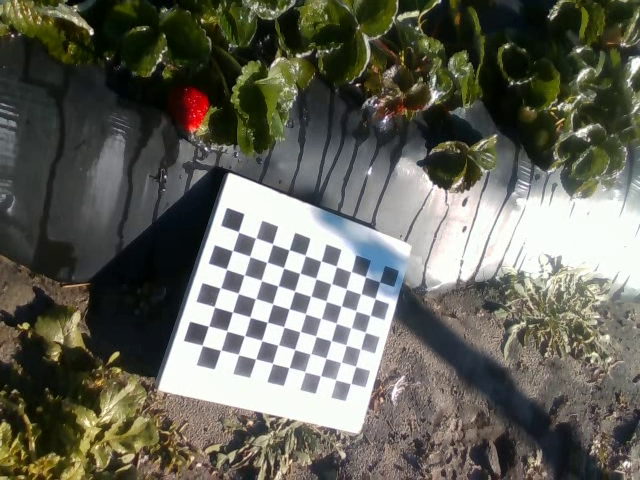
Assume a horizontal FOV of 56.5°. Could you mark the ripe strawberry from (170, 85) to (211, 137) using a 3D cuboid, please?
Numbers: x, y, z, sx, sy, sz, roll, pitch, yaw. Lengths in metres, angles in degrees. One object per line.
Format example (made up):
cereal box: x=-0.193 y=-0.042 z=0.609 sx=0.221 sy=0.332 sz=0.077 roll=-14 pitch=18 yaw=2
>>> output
ripe strawberry: x=-0.121 y=-0.120 z=0.549 sx=0.042 sy=0.052 sz=0.047 roll=13 pitch=-43 yaw=-26
